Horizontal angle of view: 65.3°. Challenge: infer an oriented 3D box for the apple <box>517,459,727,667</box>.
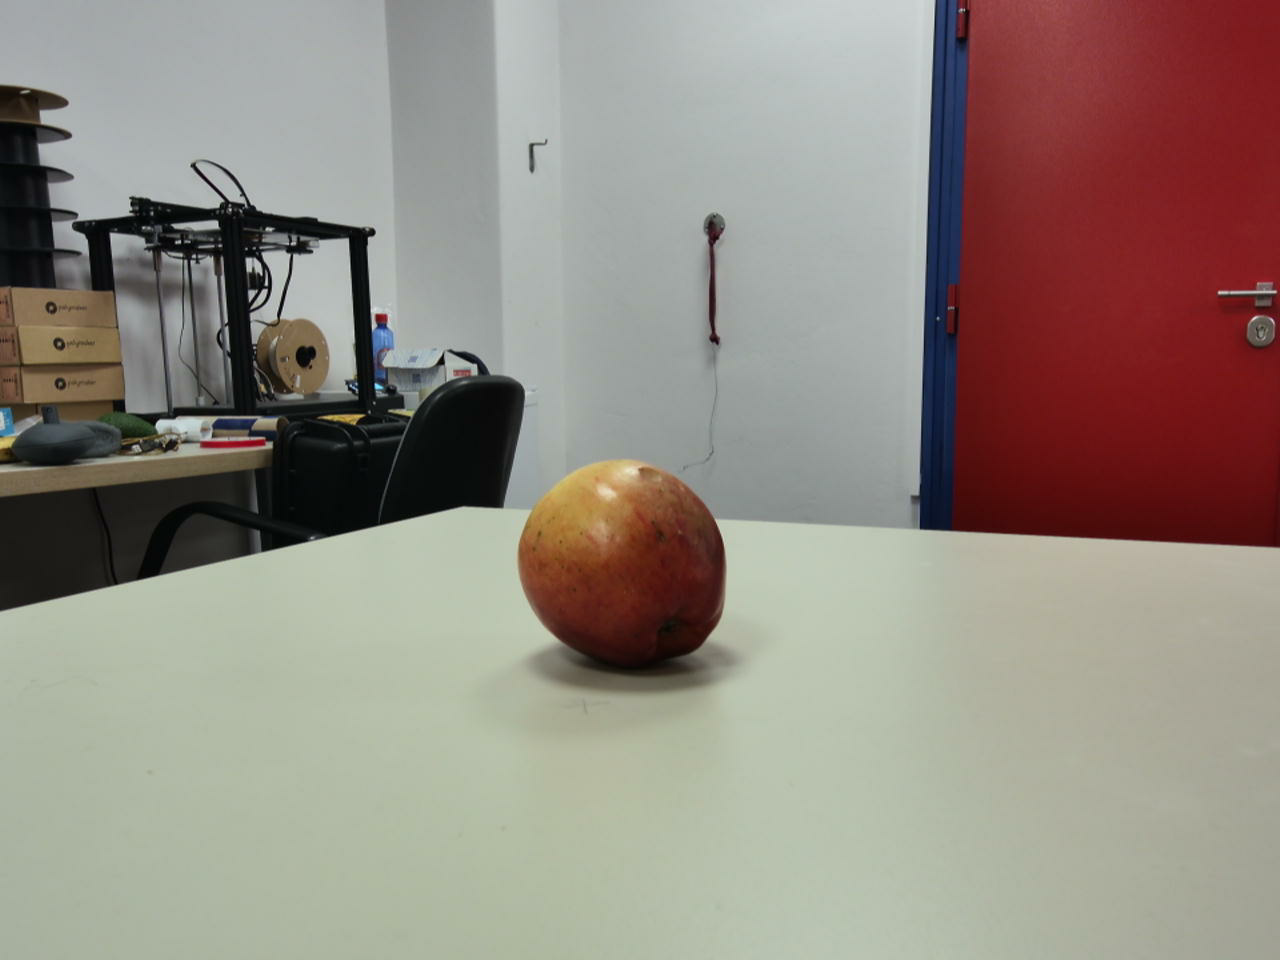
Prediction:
[{"bbox_3d":[-0.008,0.034,0.428,0.086,0.084,0.093,-1,4,-11],"label":"apple"}]
